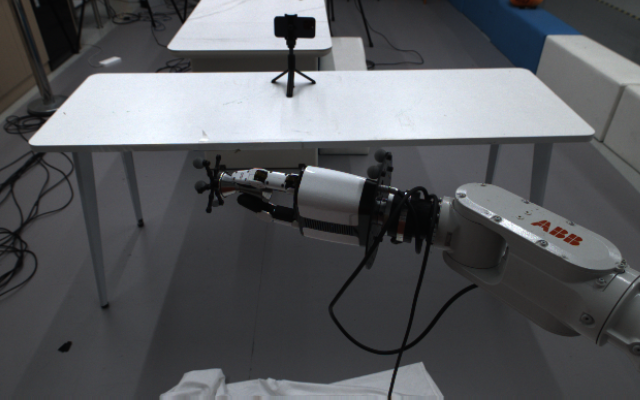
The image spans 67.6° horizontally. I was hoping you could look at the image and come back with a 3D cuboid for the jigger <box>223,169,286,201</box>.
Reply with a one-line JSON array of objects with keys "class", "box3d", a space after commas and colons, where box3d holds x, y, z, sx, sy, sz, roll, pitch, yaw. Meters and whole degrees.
[{"class": "jigger", "box3d": [-0.101, -0.023, 0.705, 0.071, 0.043, 0.043, 4, 34, 14]}]
